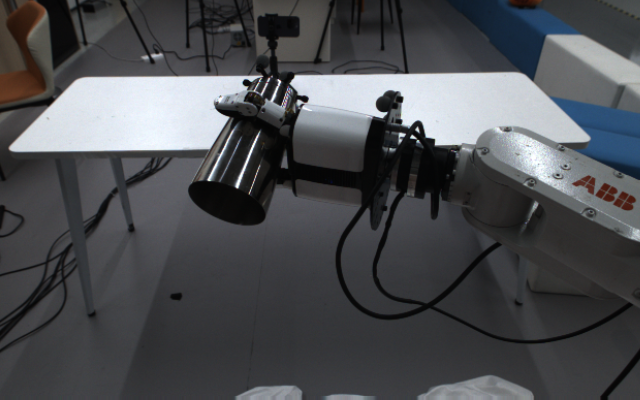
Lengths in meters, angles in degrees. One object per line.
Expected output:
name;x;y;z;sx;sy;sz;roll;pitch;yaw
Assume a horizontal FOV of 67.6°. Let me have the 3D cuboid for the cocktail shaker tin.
cocktail shaker tin;-0.082;-0.064;0.581;0.093;0.093;0.170;11;60;12
